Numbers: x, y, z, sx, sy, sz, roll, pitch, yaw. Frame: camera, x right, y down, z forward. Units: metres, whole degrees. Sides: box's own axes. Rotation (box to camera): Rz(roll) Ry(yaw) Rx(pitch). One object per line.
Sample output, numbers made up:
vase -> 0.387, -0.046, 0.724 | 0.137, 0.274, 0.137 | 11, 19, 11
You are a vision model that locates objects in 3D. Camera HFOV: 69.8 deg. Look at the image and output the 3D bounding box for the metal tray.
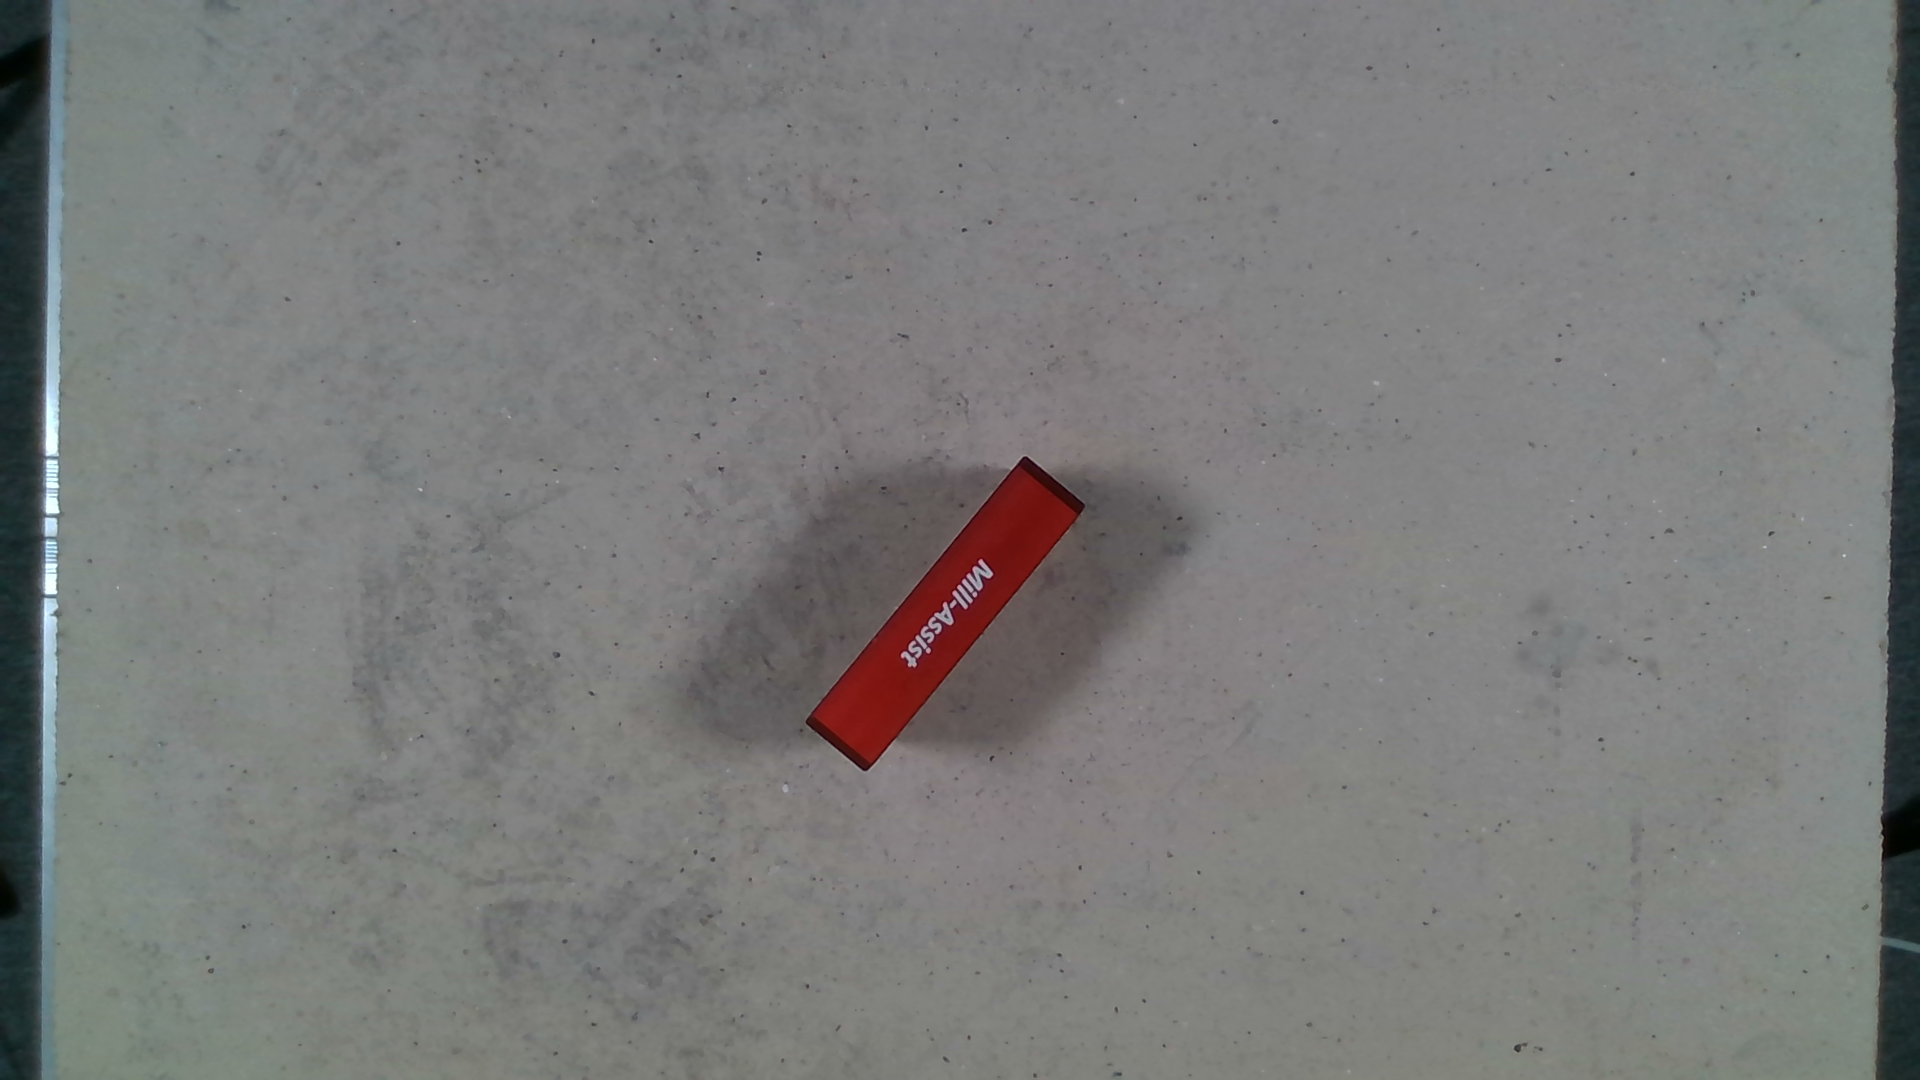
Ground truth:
metal tray -> -0.006, 0.028, 0.555 | 0.030, 0.090, 0.130 | 40, 90, 0
